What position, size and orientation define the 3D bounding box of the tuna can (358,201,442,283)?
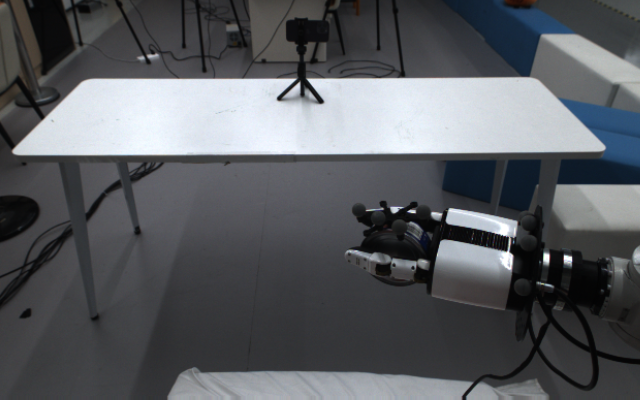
[{"bbox_3d":[0.098,0.063,0.606,0.085,0.085,0.034,15,35,17],"label":"tuna can"}]
